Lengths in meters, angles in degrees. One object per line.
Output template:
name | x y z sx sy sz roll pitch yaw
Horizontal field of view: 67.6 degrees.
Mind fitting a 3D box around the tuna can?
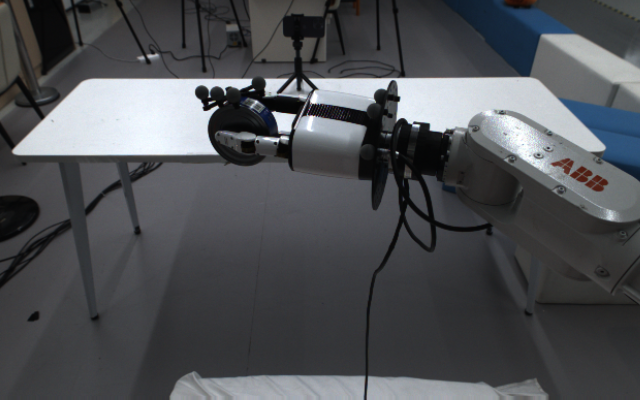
tuna can | -0.095 -0.089 0.630 0.085 0.085 0.034 10 33 11
